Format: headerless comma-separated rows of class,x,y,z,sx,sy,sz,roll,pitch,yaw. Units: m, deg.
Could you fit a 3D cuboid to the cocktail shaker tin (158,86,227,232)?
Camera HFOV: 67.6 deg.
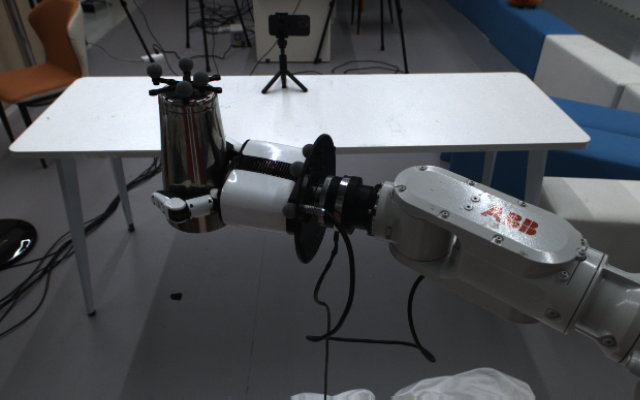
cocktail shaker tin,-0.154,-0.054,0.601,0.093,0.170,0.093,2,35,-1
